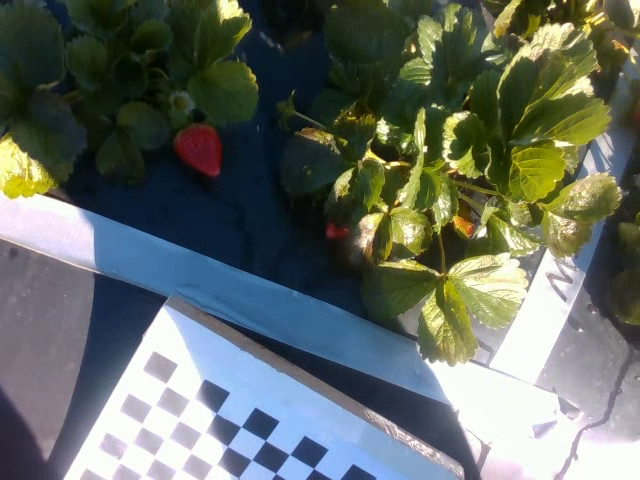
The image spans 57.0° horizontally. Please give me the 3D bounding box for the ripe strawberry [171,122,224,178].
[{"bbox_3d":[-0.104,-0.078,0.517,0.045,0.058,0.042,-28,-4,15],"label":"ripe strawberry"}]
